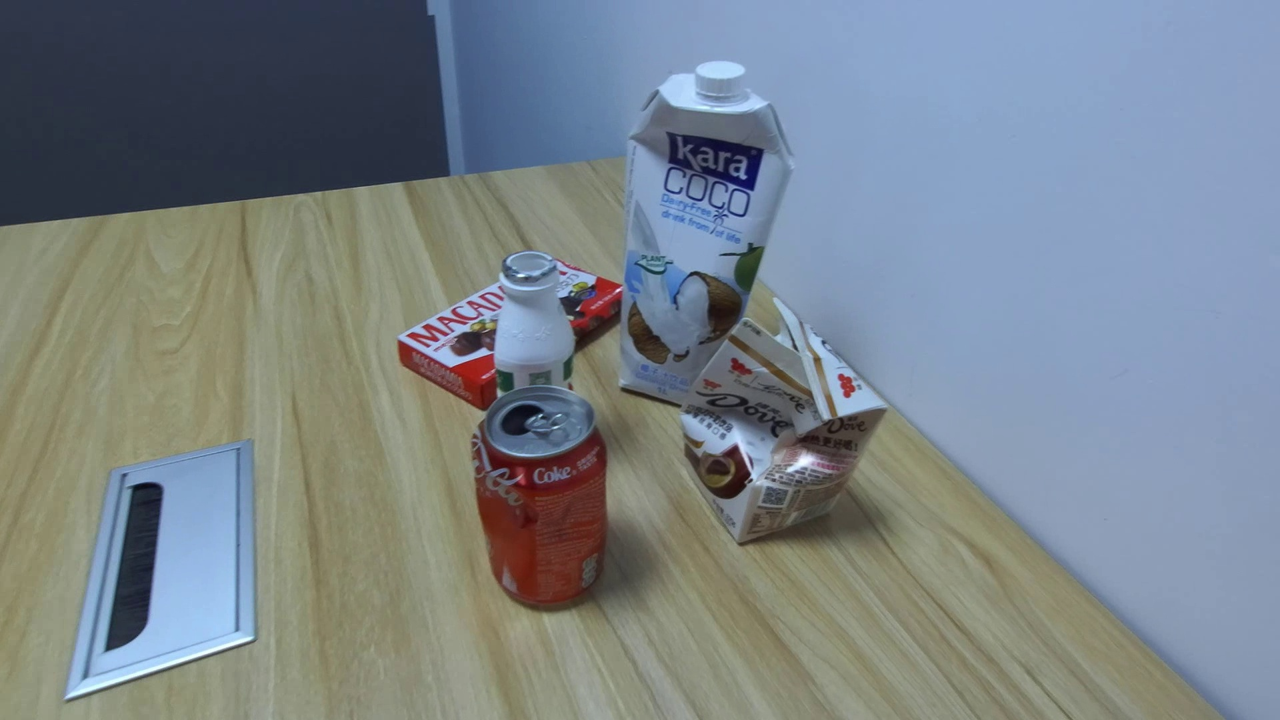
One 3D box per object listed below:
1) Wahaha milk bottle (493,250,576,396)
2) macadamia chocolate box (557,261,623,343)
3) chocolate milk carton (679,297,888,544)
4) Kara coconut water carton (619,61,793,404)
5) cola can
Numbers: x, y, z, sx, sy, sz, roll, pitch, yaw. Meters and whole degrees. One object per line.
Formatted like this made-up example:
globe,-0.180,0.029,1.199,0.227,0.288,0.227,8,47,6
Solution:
Wahaha milk bottle,-0.067,0.000,0.445,0.056,0.148,0.056,3,43,-2
macadamia chocolate box,-0.098,-0.032,0.590,0.105,0.028,0.183,25,42,25
chocolate milk carton,0.080,0.036,0.415,0.077,0.155,0.089,-19,56,-21
Kara coconut water carton,0.036,-0.080,0.484,0.115,0.238,0.069,18,37,14
cola can,-0.050,0.073,0.379,0.067,0.117,0.065,-16,41,-24
